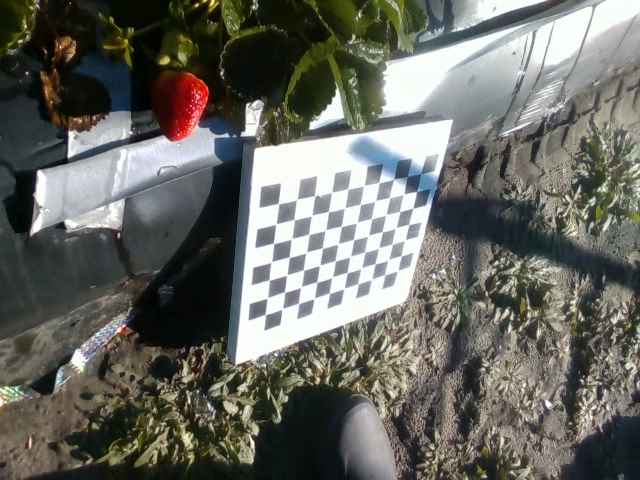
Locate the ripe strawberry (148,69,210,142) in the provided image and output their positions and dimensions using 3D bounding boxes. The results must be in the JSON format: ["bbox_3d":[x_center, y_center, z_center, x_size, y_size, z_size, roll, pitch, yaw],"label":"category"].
[{"bbox_3d":[-0.124,-0.114,0.546,0.057,0.065,0.061,-16,-25,30],"label":"ripe strawberry"}]
